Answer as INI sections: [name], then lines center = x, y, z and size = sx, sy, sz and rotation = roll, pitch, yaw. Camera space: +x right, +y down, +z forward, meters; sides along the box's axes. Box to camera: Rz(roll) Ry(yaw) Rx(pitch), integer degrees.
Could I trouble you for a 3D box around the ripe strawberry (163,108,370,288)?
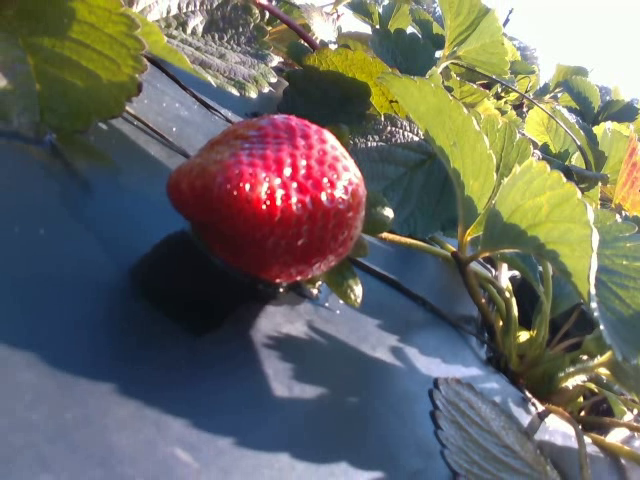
[ripe strawberry]
center = -0.012, -0.007, 0.123
size = 0.044, 0.042, 0.055
rotation = -14, -4, 18
